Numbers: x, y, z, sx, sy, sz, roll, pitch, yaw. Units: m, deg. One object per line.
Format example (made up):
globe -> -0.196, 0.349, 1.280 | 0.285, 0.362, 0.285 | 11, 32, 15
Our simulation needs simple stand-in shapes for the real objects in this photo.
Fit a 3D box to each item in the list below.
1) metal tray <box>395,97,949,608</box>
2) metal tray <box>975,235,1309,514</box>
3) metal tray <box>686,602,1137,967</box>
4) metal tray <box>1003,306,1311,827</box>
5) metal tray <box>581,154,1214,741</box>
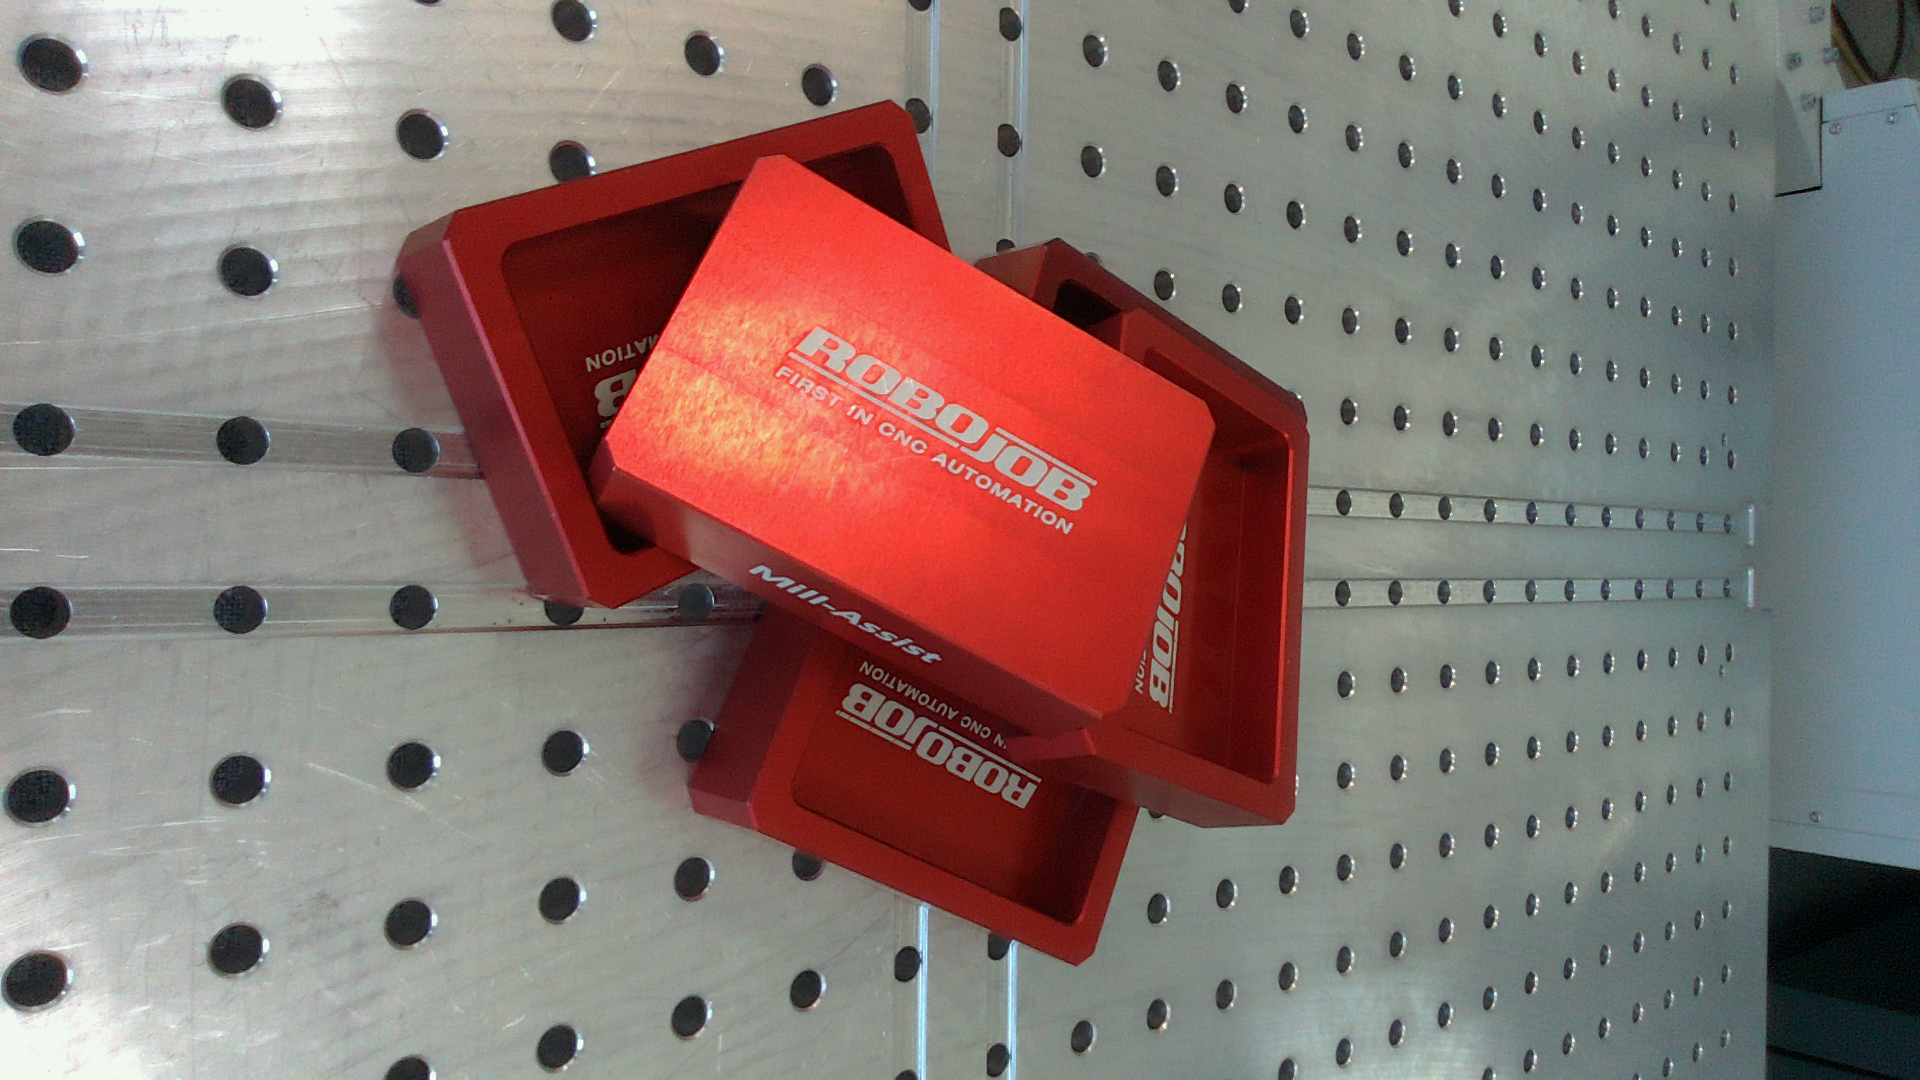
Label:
metal tray -> -0.057, -0.049, 0.340 | 0.130, 0.030, 0.090 | -28, 107, -36
metal tray -> 0.052, -0.025, 0.430 | 0.130, 0.030, 0.090 | 24, 75, -36
metal tray -> -0.002, 0.056, 0.387 | 0.130, 0.030, 0.090 | 33, 70, -35
metal tray -> 0.061, 0.010, 0.399 | 0.090, 0.030, 0.130 | 25, 63, -37
metal tray -> -0.010, -0.021, 0.327 | 0.130, 0.030, 0.090 | 28, 63, -13
